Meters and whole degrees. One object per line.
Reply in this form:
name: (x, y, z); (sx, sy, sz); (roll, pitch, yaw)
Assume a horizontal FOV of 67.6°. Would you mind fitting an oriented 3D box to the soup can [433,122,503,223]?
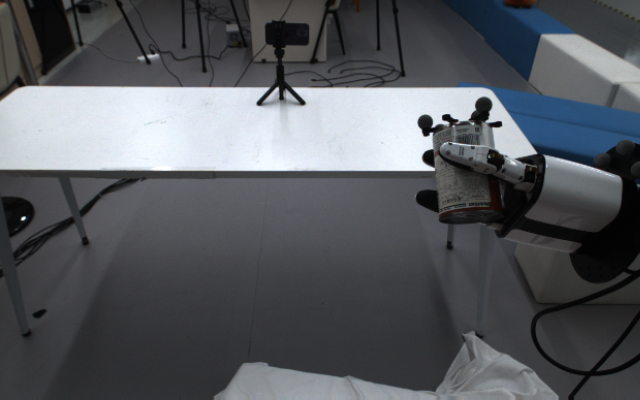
soup can: (0.163, -0.032, 0.538); (0.067, 0.067, 0.101); (0, 74, -3)
